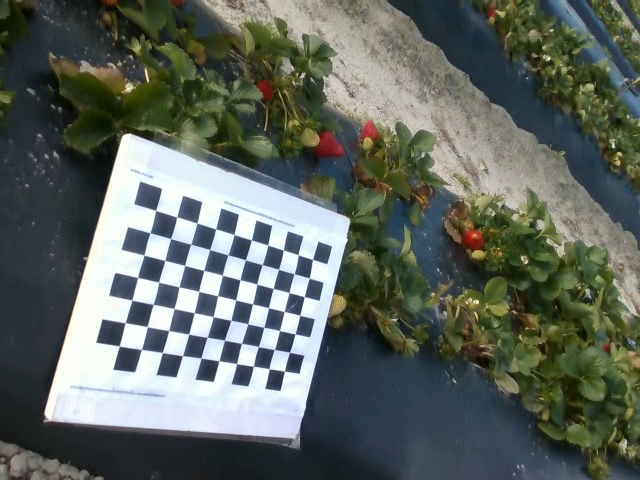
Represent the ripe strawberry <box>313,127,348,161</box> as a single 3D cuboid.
[{"bbox_3d":[0.020,-0.161,1.071,0.055,0.051,0.048,33,-26,23],"label":"ripe strawberry"}]
